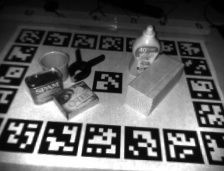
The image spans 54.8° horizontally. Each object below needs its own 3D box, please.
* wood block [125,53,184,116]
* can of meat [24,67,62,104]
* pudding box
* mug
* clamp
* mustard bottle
[{"bbox_3d":[0.142,-0.011,0.712,0.089,0.091,0.208,31,52,24],"label":"wood block"},{"bbox_3d":[-0.208,0.002,0.662,0.102,0.084,0.057,-21,55,-21],"label":"can of meat"},{"bbox_3d":[-0.112,0.041,0.673,0.115,0.039,0.089,-29,58,-28],"label":"pudding box"},{"bbox_3d":[-0.194,-0.060,0.754,0.093,0.082,0.117,20,52,13],"label":"mug"},{"bbox_3d":[-0.111,-0.083,0.787,0.121,0.037,0.165,19,52,9],"label":"clamp"},{"bbox_3d":[0.106,-0.127,0.735,0.096,0.192,0.058,-2,50,-4],"label":"mustard bottle"}]
